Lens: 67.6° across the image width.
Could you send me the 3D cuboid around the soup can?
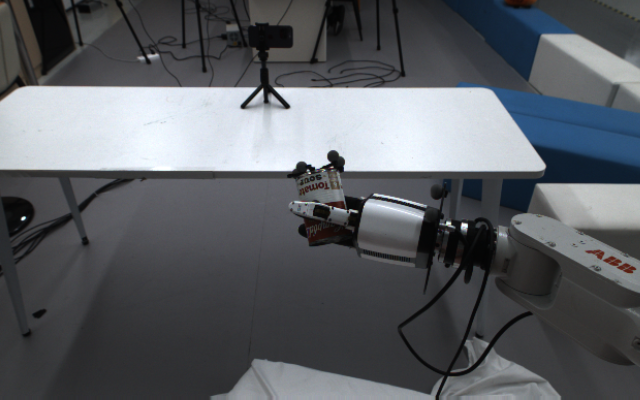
[{"bbox_3d":[0.007,0.012,0.712,0.067,0.067,0.101,-10,80,-16],"label":"soup can"}]
